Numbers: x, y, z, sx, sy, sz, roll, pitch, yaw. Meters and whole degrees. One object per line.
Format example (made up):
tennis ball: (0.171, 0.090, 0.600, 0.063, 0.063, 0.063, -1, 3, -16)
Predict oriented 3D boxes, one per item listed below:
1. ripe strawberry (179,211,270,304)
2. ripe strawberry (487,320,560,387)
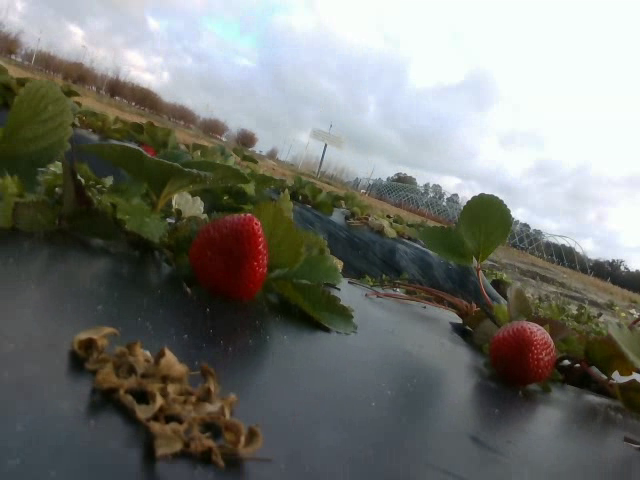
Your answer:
ripe strawberry: (-0.039, 0.002, 0.264, 0.046, 0.051, 0.050, -39, -16, -36)
ripe strawberry: (0.104, 0.054, 0.304, 0.042, 0.044, 0.052, -32, -30, -3)
